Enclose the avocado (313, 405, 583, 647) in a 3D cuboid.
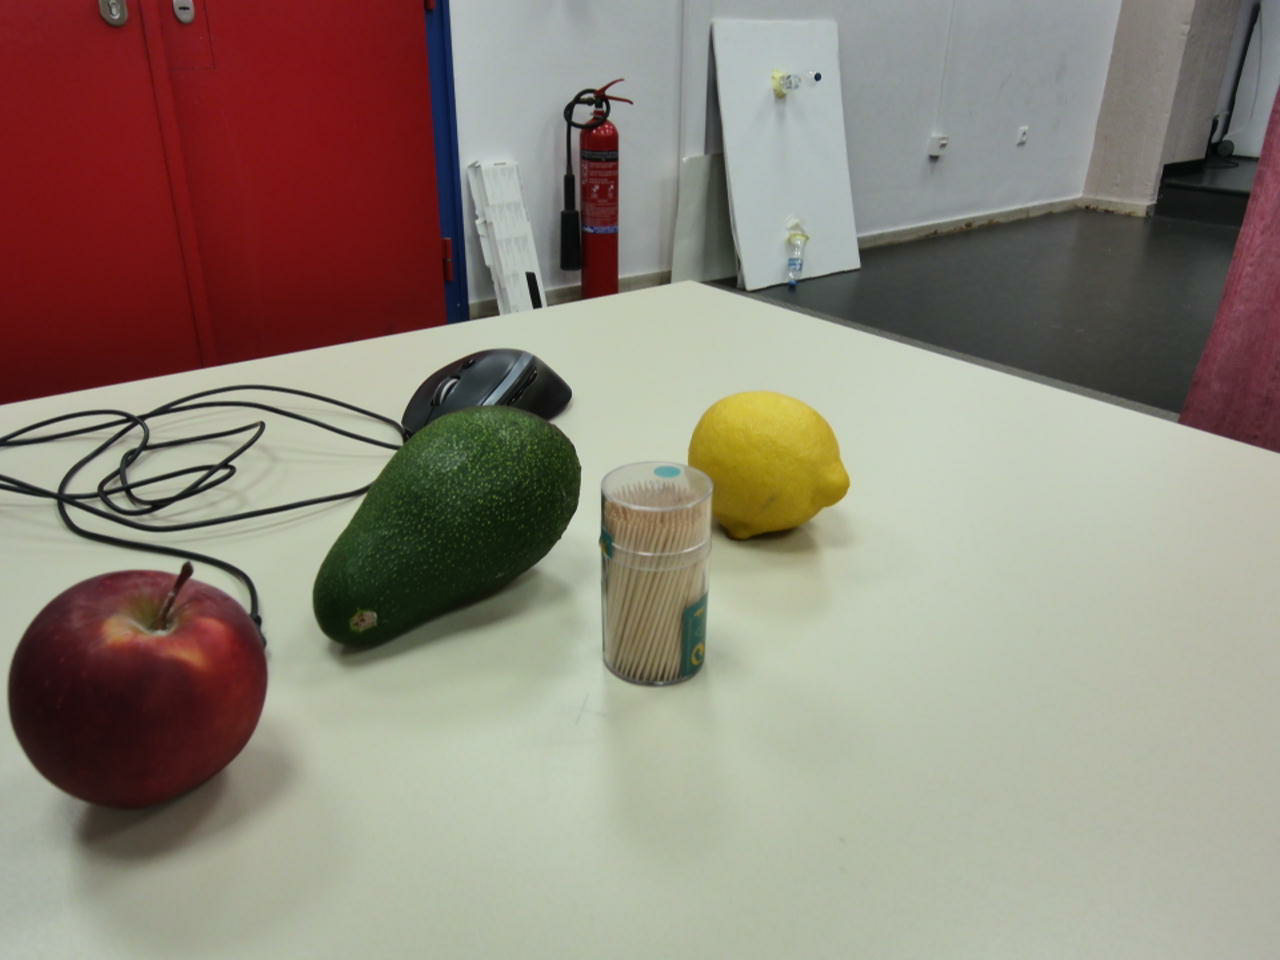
[{"bbox_3d":[-0.080,0.012,0.407,0.123,0.076,0.074,-14,27,-30],"label":"avocado"}]
